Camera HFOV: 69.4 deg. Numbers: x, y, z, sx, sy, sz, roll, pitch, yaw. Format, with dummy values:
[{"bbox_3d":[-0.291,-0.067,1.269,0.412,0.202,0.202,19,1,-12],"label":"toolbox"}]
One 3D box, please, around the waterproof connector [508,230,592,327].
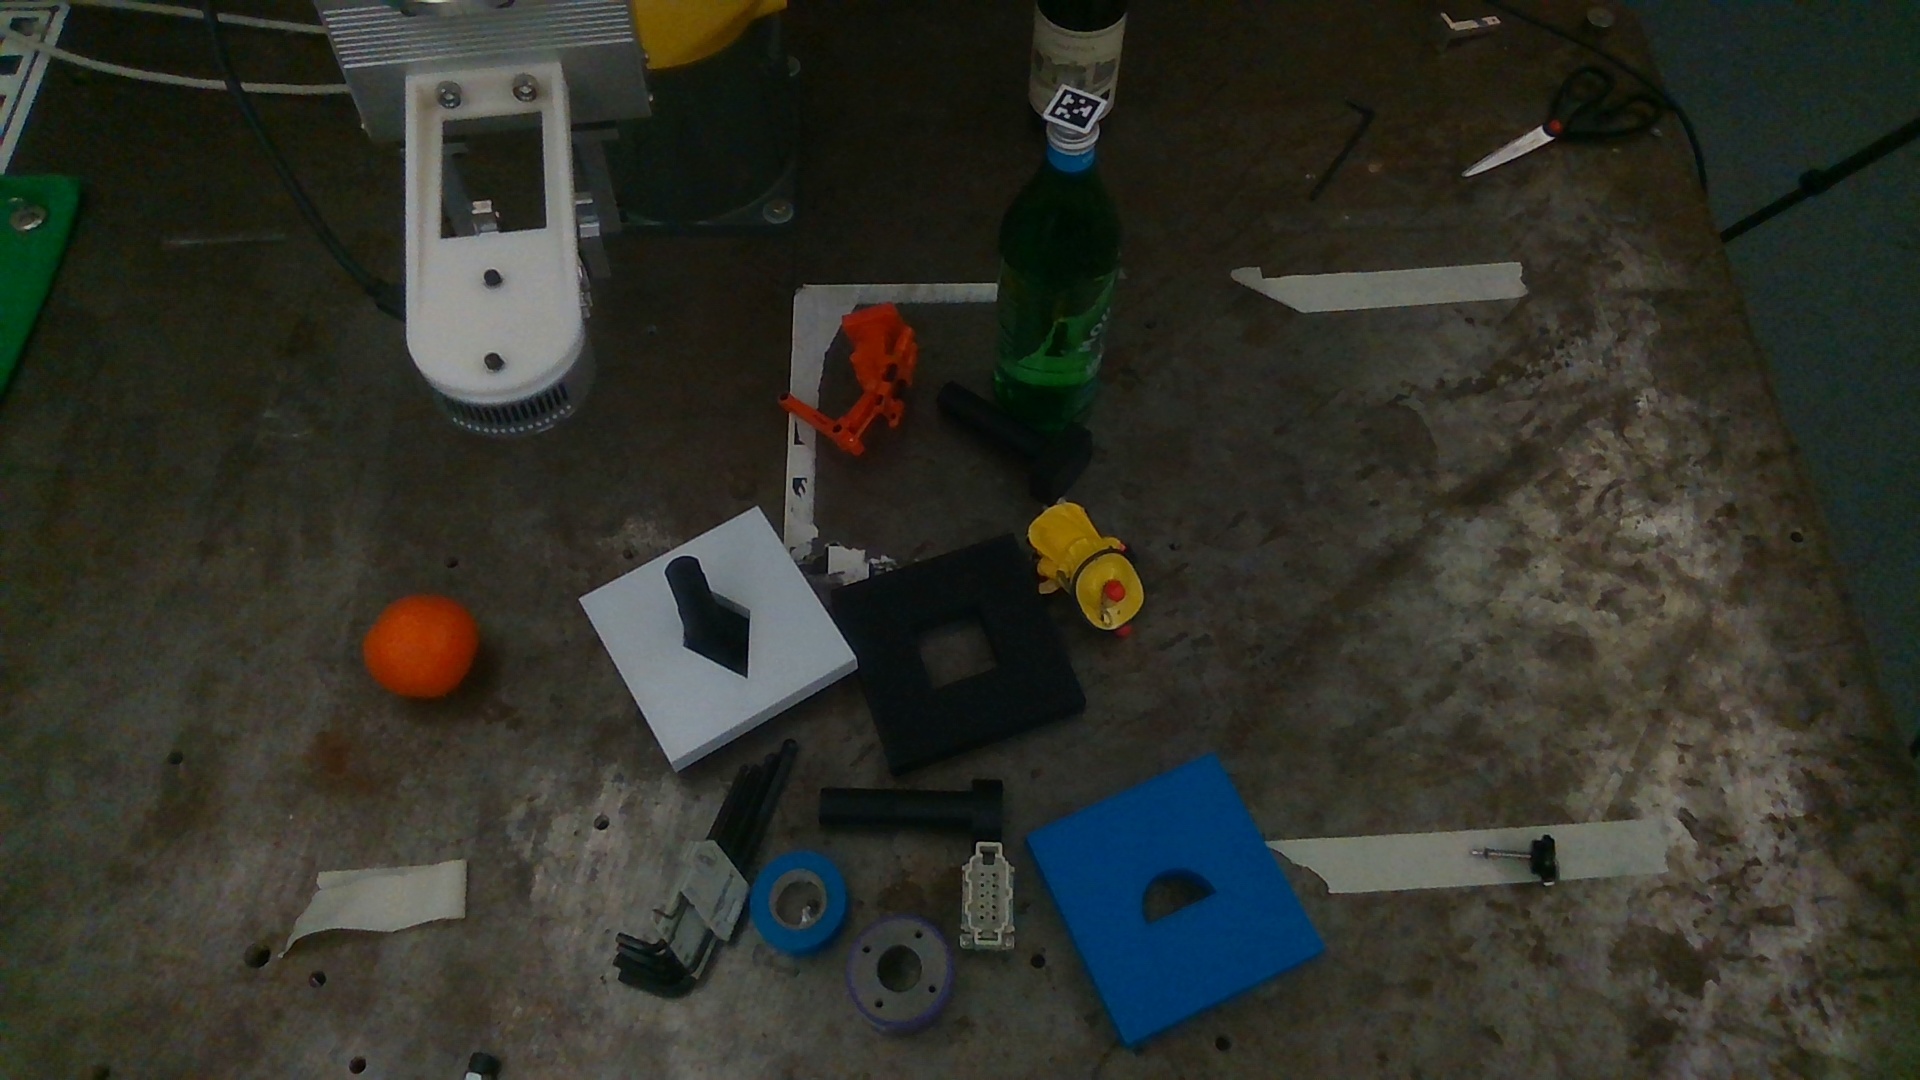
[{"bbox_3d":[-0.207,-0.133,0.706,0.036,0.038,0.069,-11,24,-8],"label":"waterproof connector"}]
